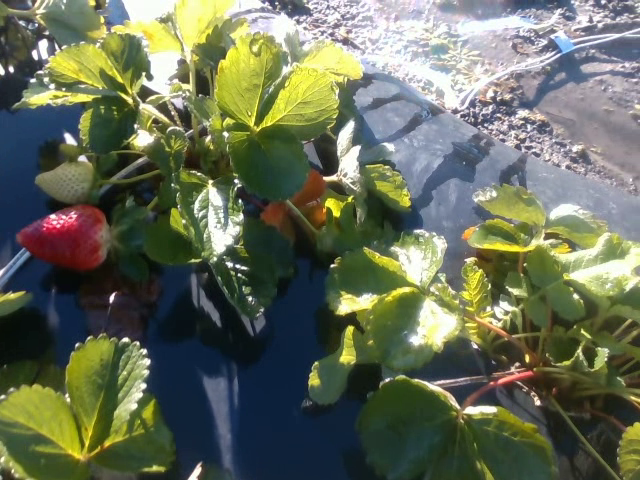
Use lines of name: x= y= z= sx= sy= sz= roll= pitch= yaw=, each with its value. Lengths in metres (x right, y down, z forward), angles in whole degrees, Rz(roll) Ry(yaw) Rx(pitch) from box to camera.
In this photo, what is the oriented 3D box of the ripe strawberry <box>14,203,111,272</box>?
ripe strawberry: x=-0.188 y=-0.003 z=0.451 sx=0.080 sy=0.063 sz=0.040 roll=0 pitch=-5 yaw=-28
